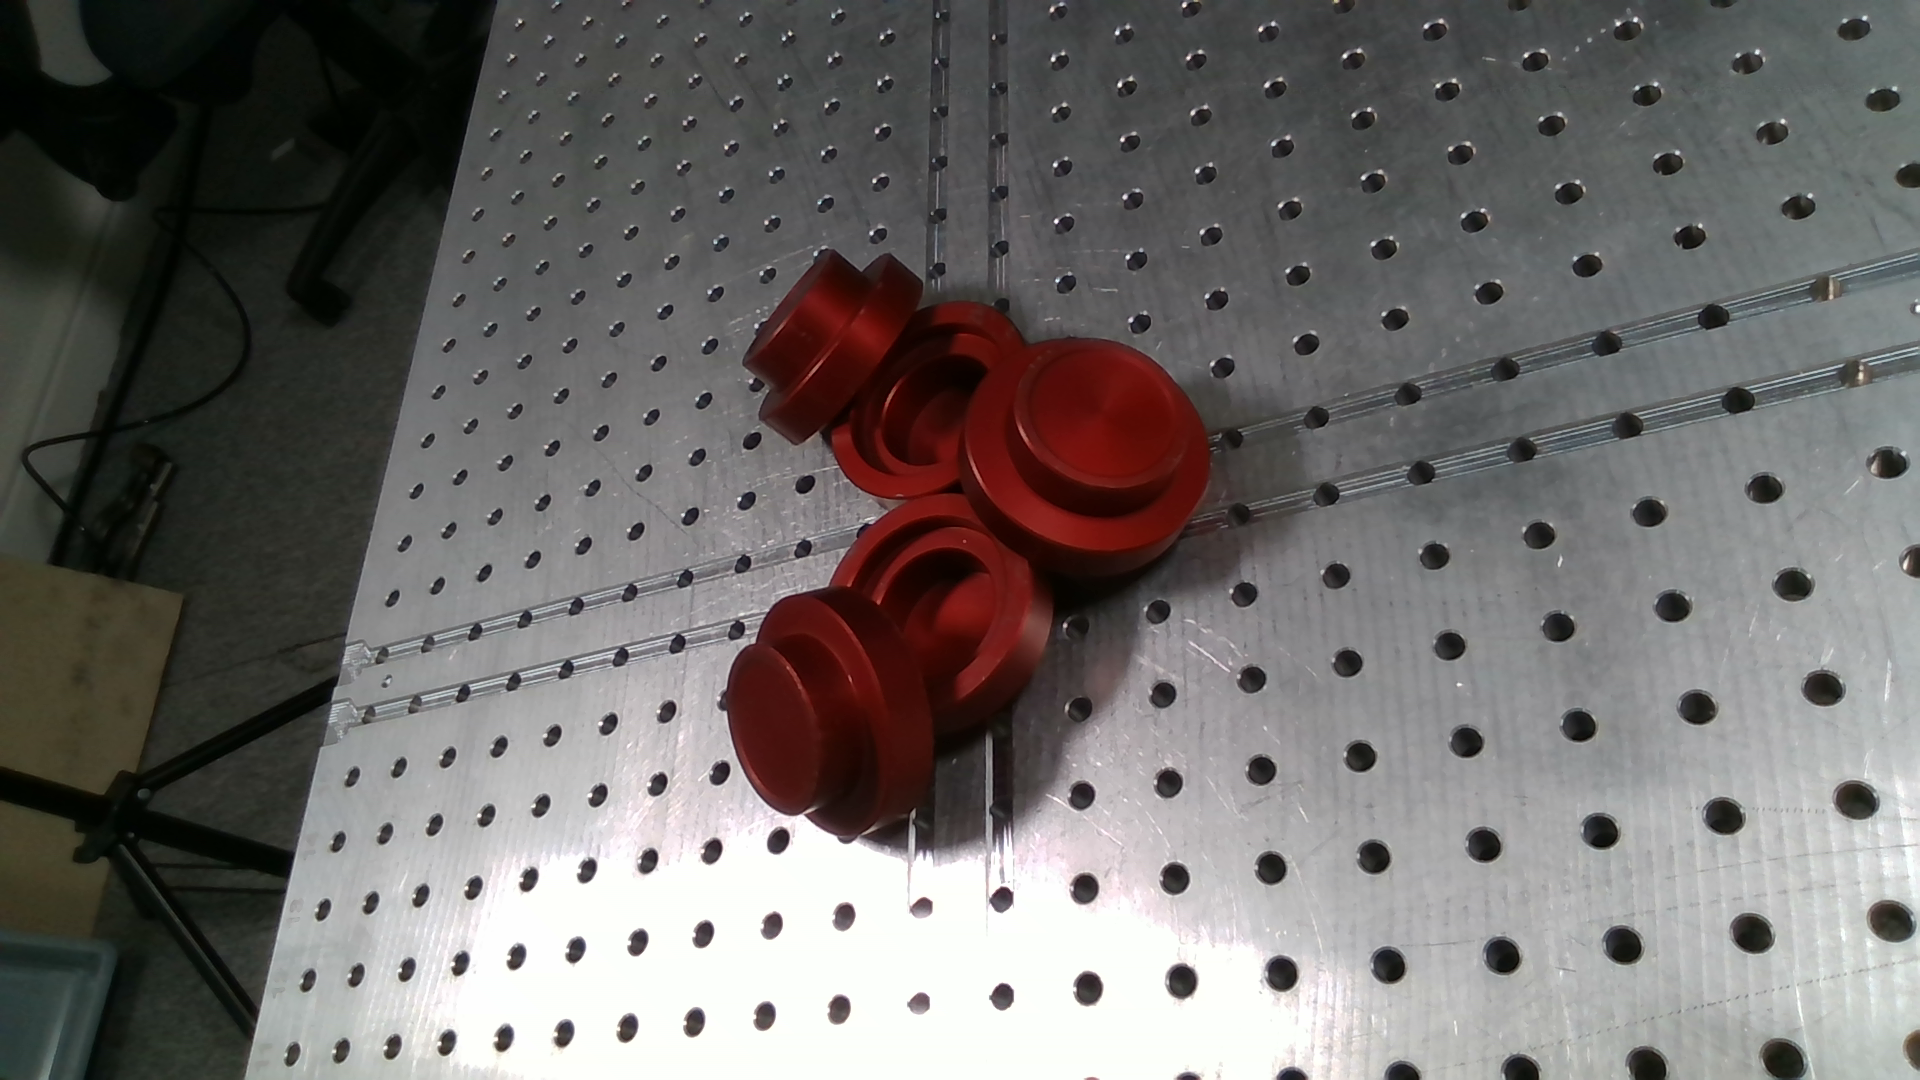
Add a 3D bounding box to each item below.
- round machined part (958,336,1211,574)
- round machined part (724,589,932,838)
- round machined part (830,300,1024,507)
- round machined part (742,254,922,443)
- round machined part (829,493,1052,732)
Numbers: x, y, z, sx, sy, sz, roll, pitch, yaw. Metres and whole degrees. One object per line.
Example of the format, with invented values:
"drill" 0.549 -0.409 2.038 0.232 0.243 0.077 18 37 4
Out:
"round machined part" 0.050 -0.040 0.534 0.098 0.042 0.098 5 62 -8
"round machined part" -0.058 0.070 0.541 0.098 0.042 0.098 16 110 48
"round machined part" -0.006 -0.053 0.608 0.098 0.042 0.098 -14 59 25
"round machined part" -0.064 -0.095 0.638 0.098 0.042 0.098 -46 18 19
"round machined part" -0.006 0.034 0.563 0.098 0.042 0.098 -14 59 25
